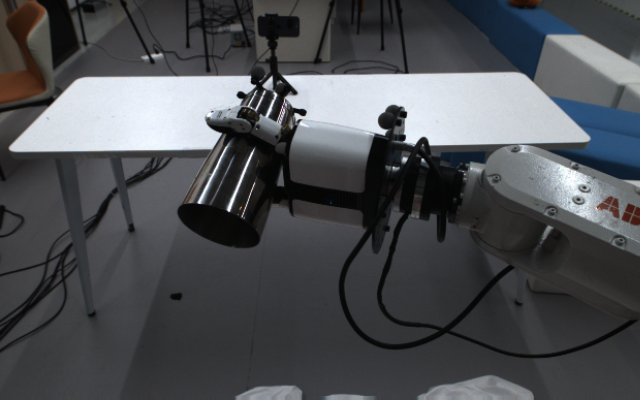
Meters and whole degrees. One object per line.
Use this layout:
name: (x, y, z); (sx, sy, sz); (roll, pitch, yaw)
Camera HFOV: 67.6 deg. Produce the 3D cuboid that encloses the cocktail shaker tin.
cocktail shaker tin: (-0.083, -0.041, 0.548); (0.093, 0.093, 0.170); (11, 60, 12)
